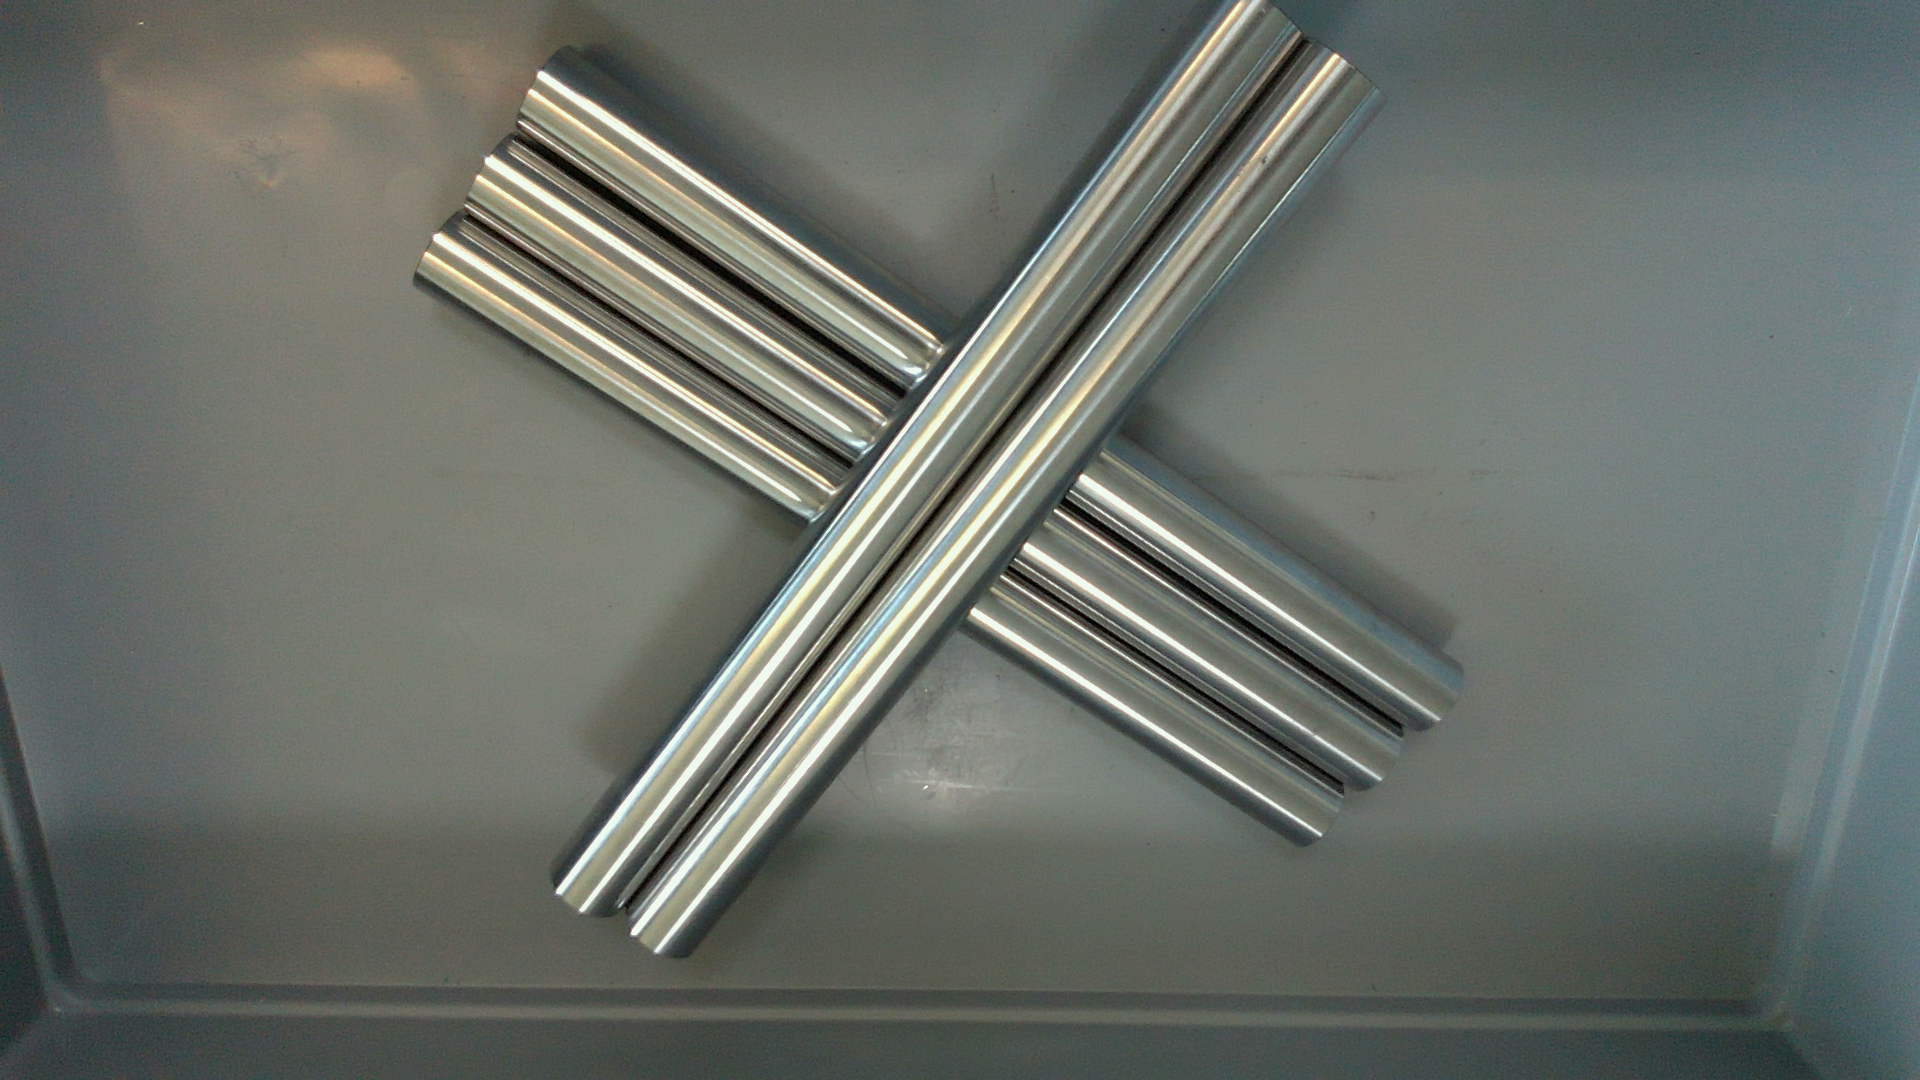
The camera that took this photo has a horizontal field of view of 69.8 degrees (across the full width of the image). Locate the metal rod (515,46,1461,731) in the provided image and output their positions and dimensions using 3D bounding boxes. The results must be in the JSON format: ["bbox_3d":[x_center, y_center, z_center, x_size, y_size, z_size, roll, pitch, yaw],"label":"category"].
[{"bbox_3d":[0.017,-0.034,0.380,0.300,0.025,0.025,33,107,-12],"label":"metal rod"}]

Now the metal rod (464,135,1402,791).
[{"bbox_3d":[0.002,-0.015,0.387,0.300,0.025,0.025,33,107,-12],"label":"metal rod"}]

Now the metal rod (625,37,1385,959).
[{"bbox_3d":[0.001,0.002,0.367,0.025,0.025,0.300,35,106,-12],"label":"metal rod"}]

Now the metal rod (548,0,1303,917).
[{"bbox_3d":[-0.020,-0.012,0.362,0.025,0.025,0.300,35,106,-12],"label":"metal rod"}]

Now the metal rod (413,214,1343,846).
[{"bbox_3d":[-0.014,0.003,0.394,0.300,0.025,0.025,33,107,-12],"label":"metal rod"}]
